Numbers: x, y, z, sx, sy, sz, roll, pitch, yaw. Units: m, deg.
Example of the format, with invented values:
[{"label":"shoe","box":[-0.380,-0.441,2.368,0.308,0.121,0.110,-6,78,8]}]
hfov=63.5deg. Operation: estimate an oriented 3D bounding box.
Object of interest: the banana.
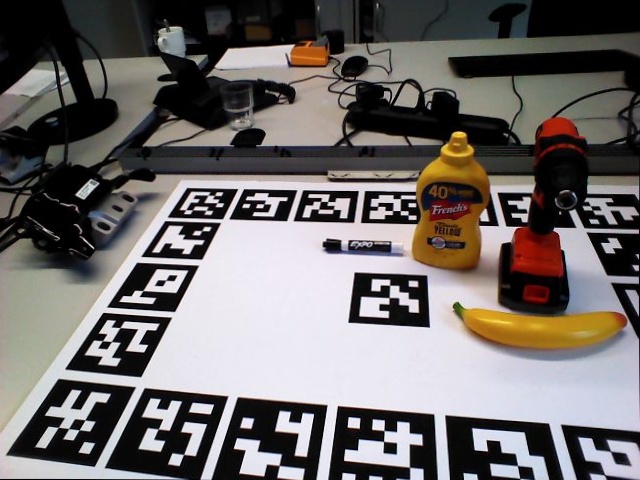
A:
[{"label":"banana","box":[0.245,0.127,0.614,0.198,0.039,0.073,7,41,19]}]

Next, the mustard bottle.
[{"label":"mustard bottle","box":[0.175,-0.033,0.702,0.097,0.192,0.058,12,41,19]}]

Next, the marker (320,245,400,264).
[{"label":"marker","box":[0.060,0.022,0.788,0.121,0.020,0.019,5,40,14]}]

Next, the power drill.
[{"label":"power drill","box":[0.265,-0.001,0.620,0.057,0.187,0.183,14,39,21]}]
